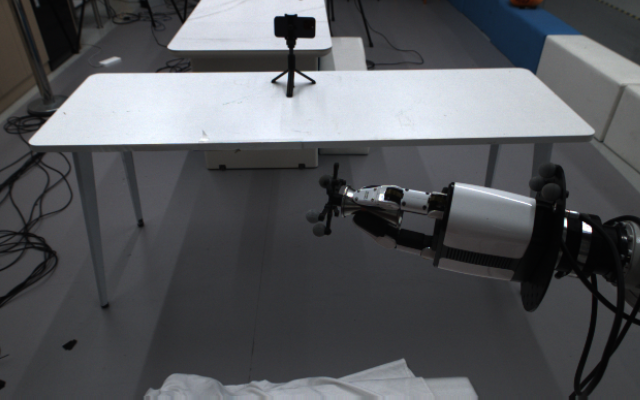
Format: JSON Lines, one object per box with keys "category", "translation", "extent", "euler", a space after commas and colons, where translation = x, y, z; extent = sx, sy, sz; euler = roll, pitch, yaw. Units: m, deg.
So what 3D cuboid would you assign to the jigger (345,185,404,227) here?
{"category": "jigger", "translation": [0.069, 0.003, 0.569], "extent": [0.071, 0.043, 0.043], "euler": [9, 35, 16]}
